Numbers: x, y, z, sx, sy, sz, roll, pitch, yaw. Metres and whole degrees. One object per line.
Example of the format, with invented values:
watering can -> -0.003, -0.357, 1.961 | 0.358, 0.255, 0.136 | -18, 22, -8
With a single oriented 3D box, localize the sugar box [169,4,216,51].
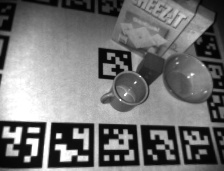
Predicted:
sugar box -> 0.211, -0.176, 0.629 | 0.093, 0.176, 0.045 | 24, 63, -3

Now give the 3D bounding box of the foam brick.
foam brick -> 0.107, -0.057, 0.610 | 0.053, 0.078, 0.051 | 19, 63, -6

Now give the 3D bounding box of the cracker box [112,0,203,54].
cracker box -> 0.107, -0.179, 0.581 | 0.164, 0.213, 0.072 | 32, 61, -1

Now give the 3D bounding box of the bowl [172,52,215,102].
bowl -> 0.227, -0.020, 0.625 | 0.163, 0.055, 0.161 | 6, 67, -14

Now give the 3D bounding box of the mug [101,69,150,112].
mug -> 0.030, 0.018, 0.545 | 0.118, 0.081, 0.092 | -4, 61, -15
